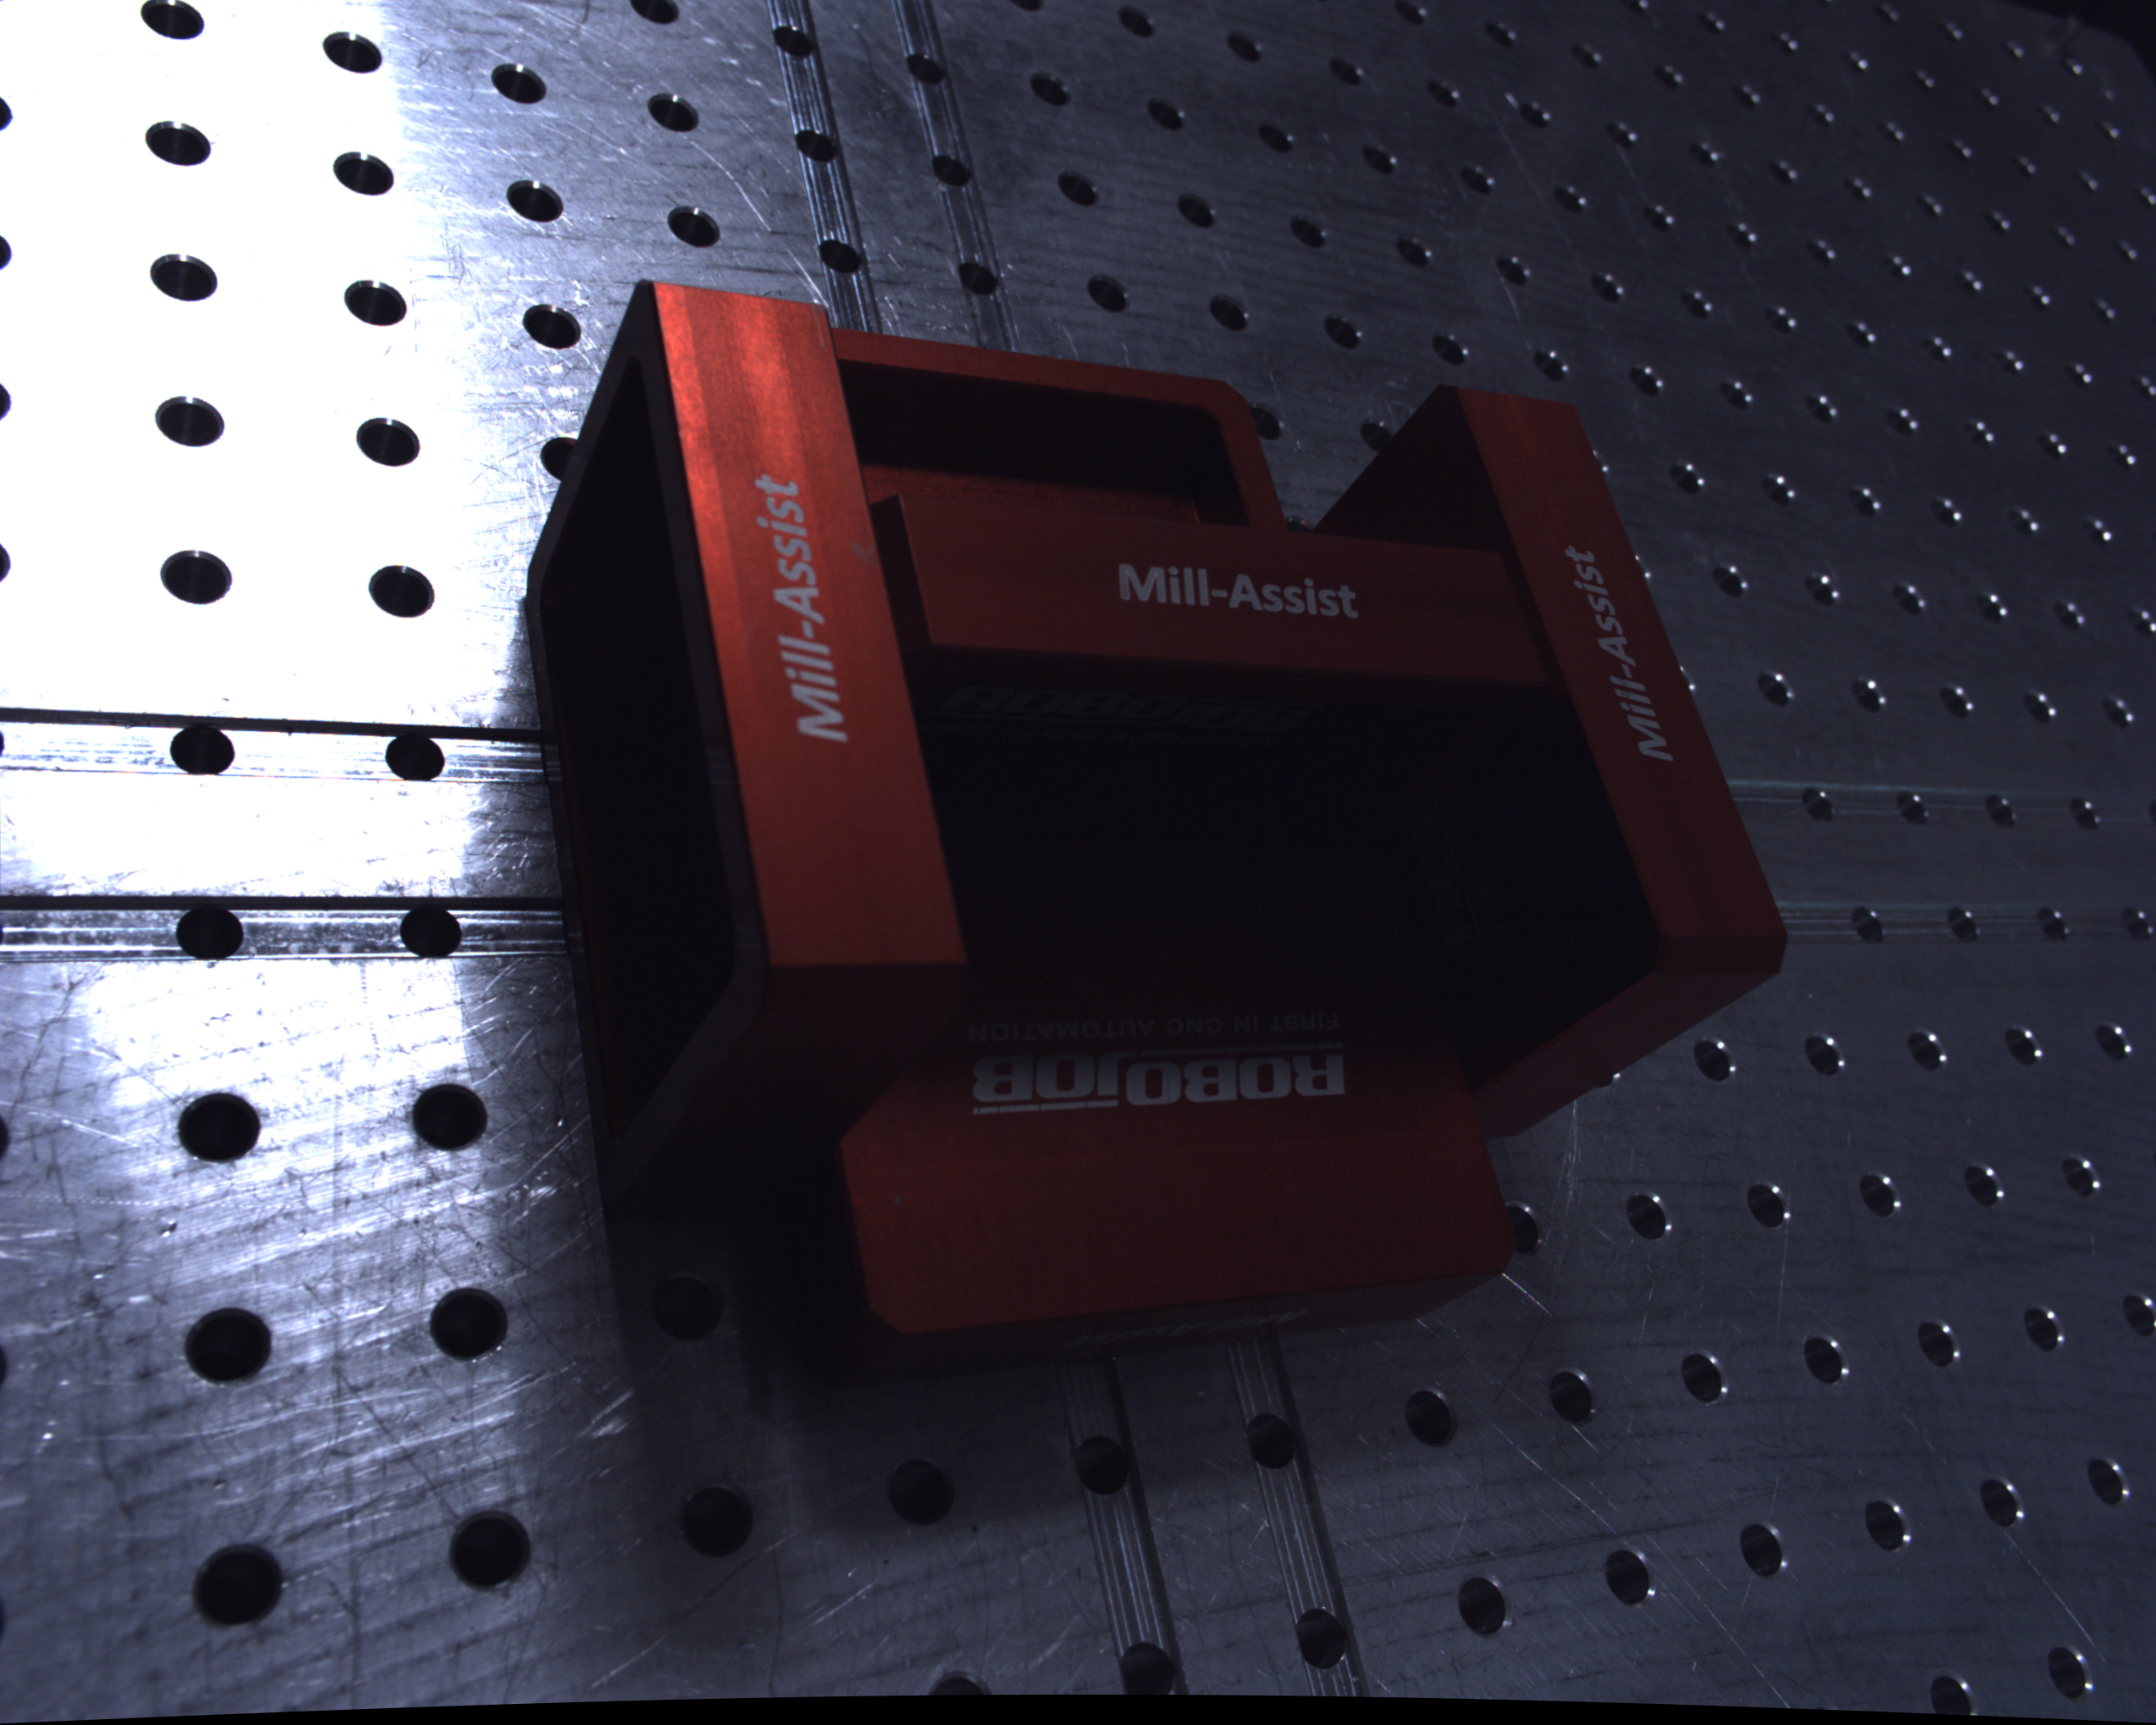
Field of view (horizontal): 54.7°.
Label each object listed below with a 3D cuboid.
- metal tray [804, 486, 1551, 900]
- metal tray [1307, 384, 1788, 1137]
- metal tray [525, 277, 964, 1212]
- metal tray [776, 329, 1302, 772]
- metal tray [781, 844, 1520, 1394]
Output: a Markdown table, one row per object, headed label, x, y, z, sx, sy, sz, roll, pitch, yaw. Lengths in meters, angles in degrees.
| label | x | y | z | sx | sy | sz | roll | pitch | yaw |
| --- | --- | --- | --- | --- | --- | --- | --- | --- | --- |
| metal tray | 0.009 | -0.025 | 0.386 | 0.131 | 0.090 | 0.030 | 1 | 62 | -28 |
| metal tray | 0.082 | -0.019 | 0.423 | 0.030 | 0.090 | 0.130 | 1 | 61 | -28 |
| metal tray | -0.061 | -0.018 | 0.345 | 0.030 | 0.090 | 0.130 | 1 | 61 | -28 |
| metal tray | -0.017 | -0.064 | 0.436 | 0.131 | 0.030 | 0.090 | 1 | 62 | -28 |
| metal tray | 0.010 | 0.043 | 0.384 | 0.131 | 0.030 | 0.090 | 1 | 62 | -28 |
